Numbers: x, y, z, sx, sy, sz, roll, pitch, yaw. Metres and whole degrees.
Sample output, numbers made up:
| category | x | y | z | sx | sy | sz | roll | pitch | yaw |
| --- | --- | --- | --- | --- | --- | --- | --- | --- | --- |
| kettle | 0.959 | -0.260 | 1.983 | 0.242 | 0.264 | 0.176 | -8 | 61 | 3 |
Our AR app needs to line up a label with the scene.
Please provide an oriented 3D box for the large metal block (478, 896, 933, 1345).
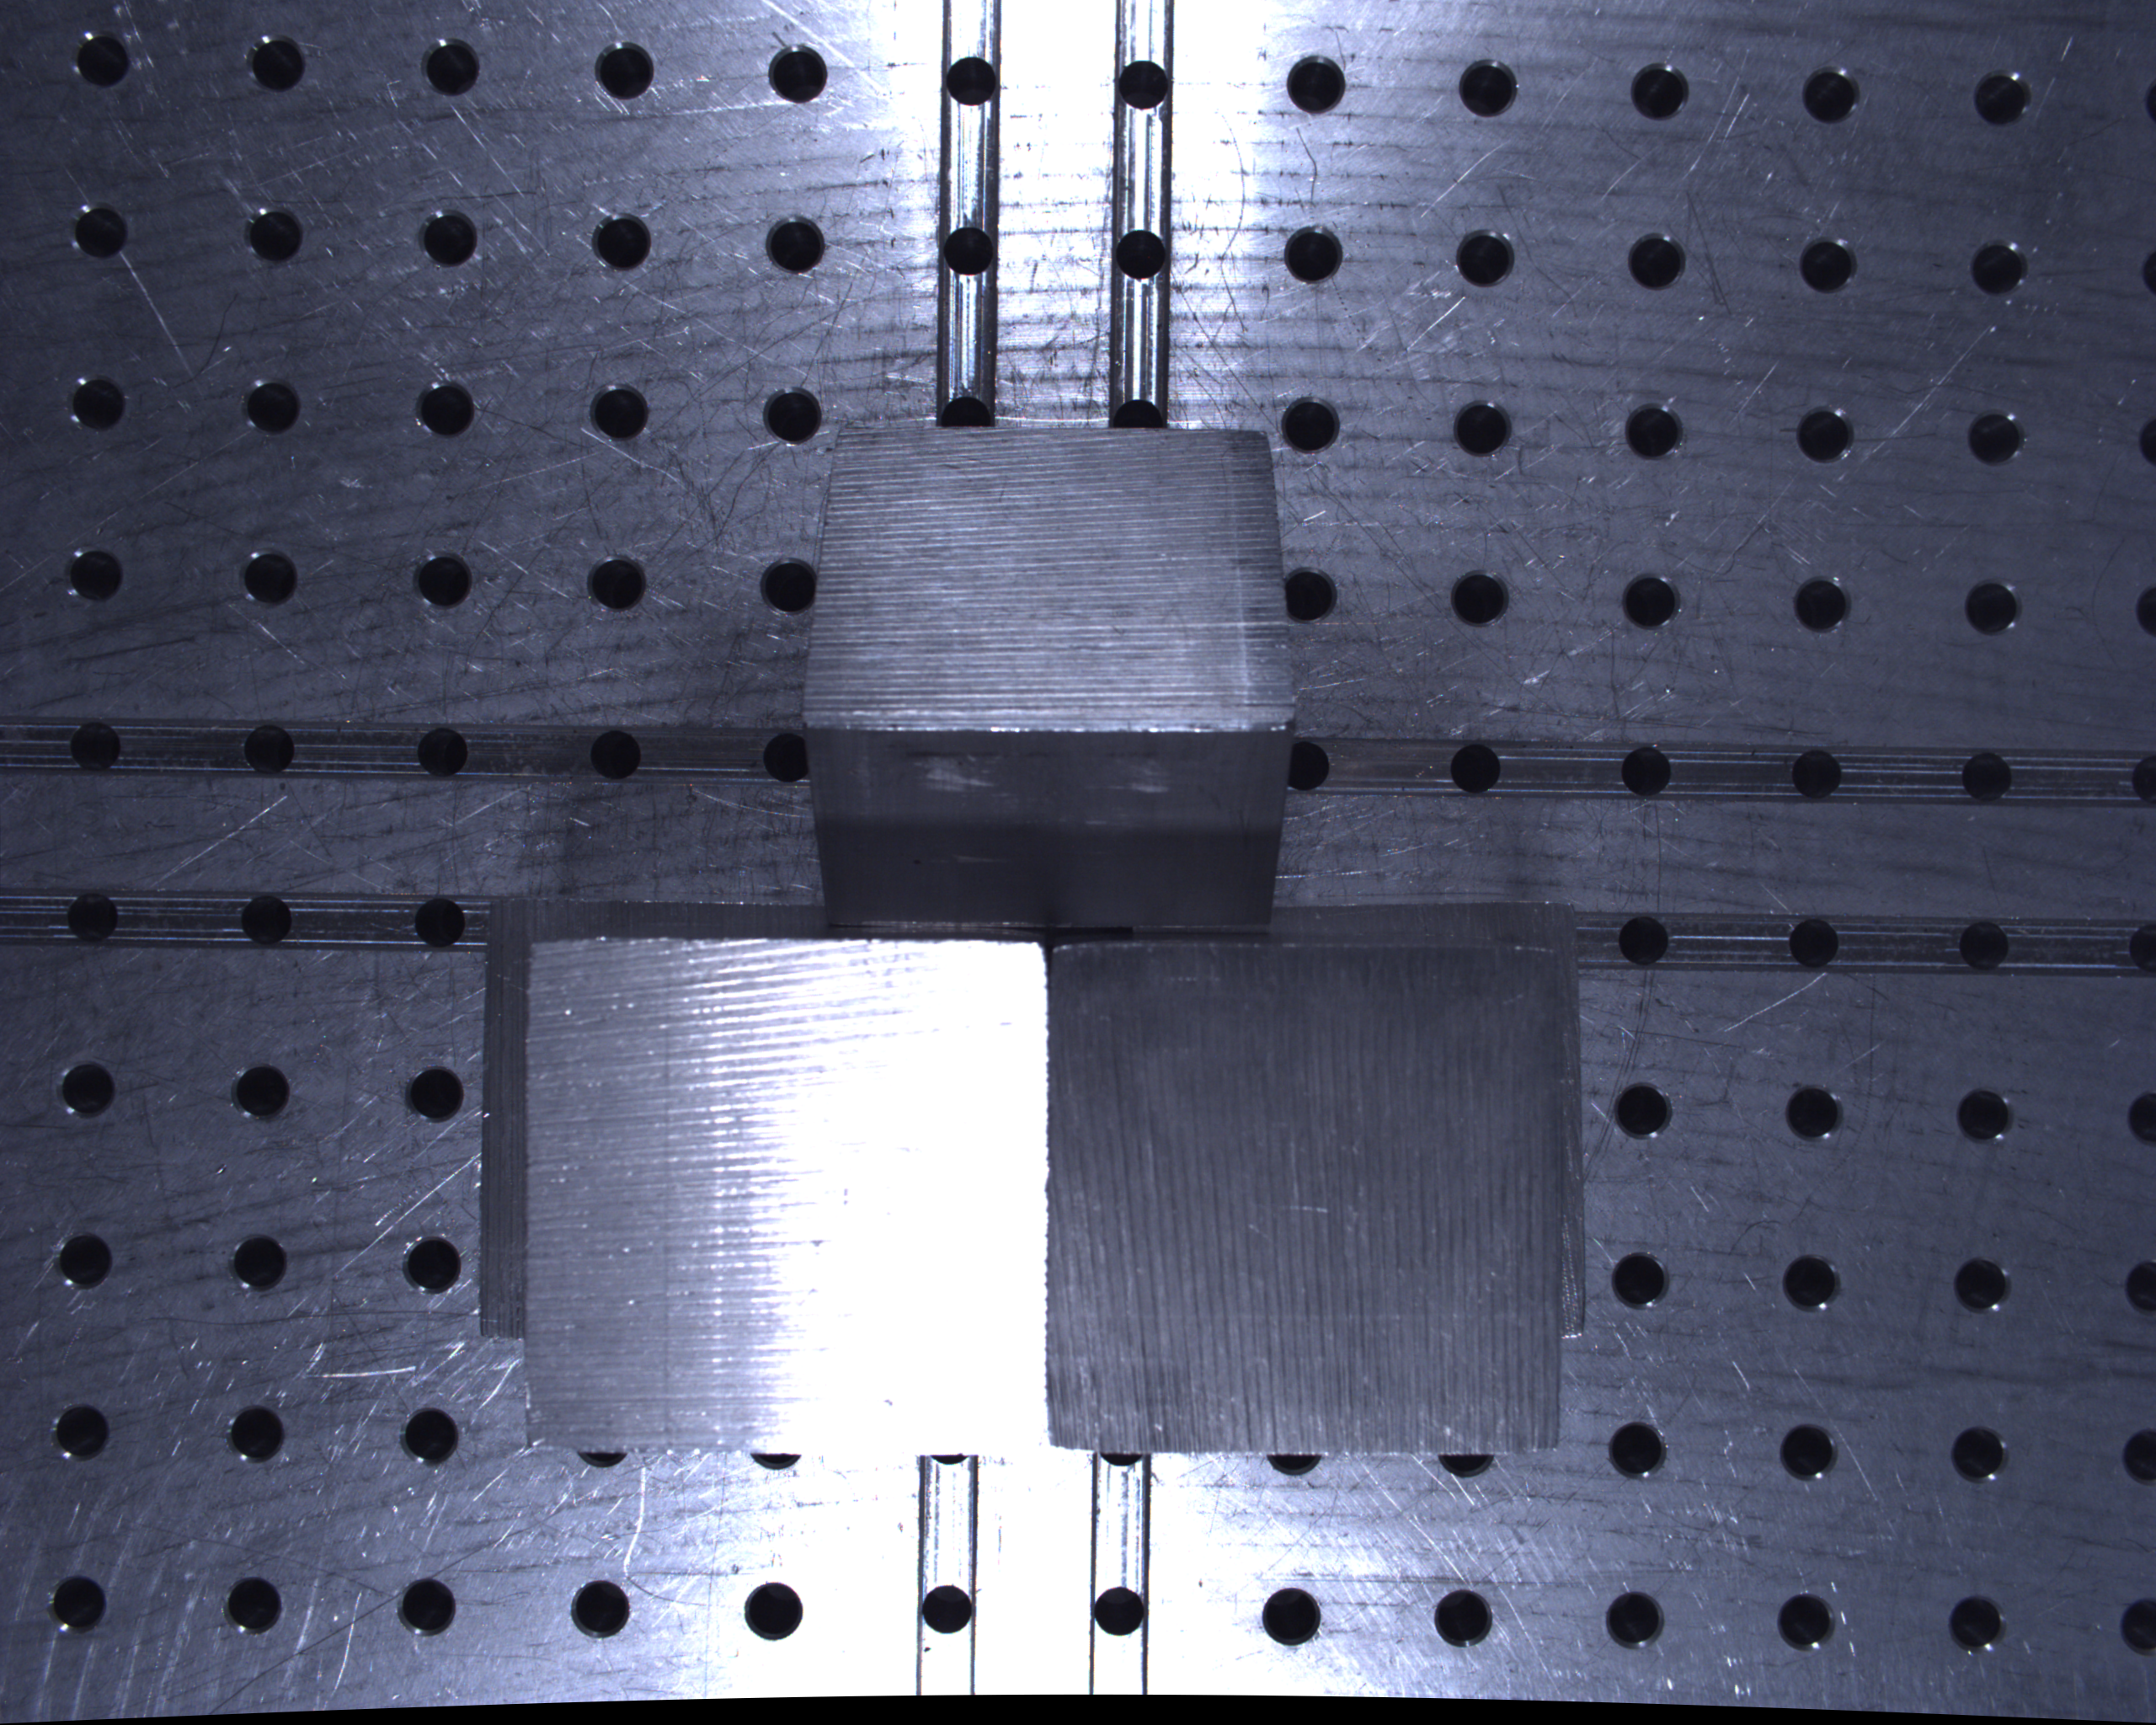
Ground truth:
| category | x | y | z | sx | sy | sz | roll | pitch | yaw |
| --- | --- | --- | --- | --- | --- | --- | --- | --- | --- |
| large metal block | -0.067 | 0.047 | 0.401 | 0.081 | 0.050 | 0.079 | 2 | 90 | -1 |

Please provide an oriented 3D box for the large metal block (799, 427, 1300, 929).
| category | x | y | z | sx | sy | sz | roll | pitch | yaw |
| --- | --- | --- | --- | --- | --- | --- | --- | --- | --- |
| large metal block | -0.005 | -0.035 | 0.380 | 0.081 | 0.050 | 0.080 | 0 | 48 | -1 |

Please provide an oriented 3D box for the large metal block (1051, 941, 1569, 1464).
| category | x | y | z | sx | sy | sz | roll | pitch | yaw |
| --- | --- | --- | --- | --- | --- | --- | --- | --- | --- |
| large metal block | 0.036 | 0.053 | 0.349 | 0.081 | 0.050 | 0.079 | 0 | 90 | -1 |

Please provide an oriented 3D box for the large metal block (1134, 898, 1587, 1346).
| category | x | y | z | sx | sy | sz | roll | pitch | yaw |
| --- | --- | --- | --- | --- | --- | --- | --- | --- | --- |
| large metal block | 0.051 | 0.047 | 0.401 | 0.081 | 0.050 | 0.079 | -1 | 90 | -1 |

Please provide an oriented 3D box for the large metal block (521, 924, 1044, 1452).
| category | x | y | z | sx | sy | sz | roll | pitch | yaw |
| --- | --- | --- | --- | --- | --- | --- | --- | --- | --- |
| large metal block | -0.046 | 0.051 | 0.347 | 0.081 | 0.050 | 0.079 | 0 | 90 | -1 |
